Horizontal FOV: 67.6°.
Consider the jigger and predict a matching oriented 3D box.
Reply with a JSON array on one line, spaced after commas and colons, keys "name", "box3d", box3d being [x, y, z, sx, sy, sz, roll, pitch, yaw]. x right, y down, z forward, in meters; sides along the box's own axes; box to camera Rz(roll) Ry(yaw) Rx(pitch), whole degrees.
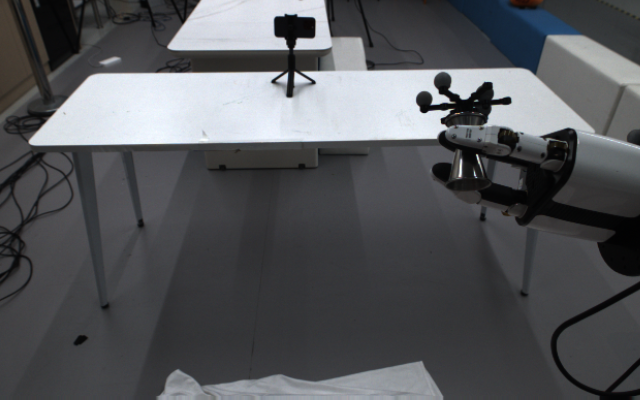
[{"name": "jigger", "box3d": [0.144, -0.048, 0.478, 0.043, 0.043, 0.071, 3, 76, 1]}]
